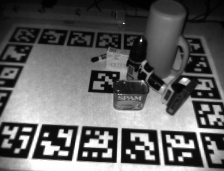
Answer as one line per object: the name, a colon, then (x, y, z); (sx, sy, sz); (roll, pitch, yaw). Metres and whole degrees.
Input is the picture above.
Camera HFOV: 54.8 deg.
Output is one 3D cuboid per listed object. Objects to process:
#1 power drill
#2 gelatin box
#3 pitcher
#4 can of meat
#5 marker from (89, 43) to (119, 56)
power drill: (0.116, -0.058, 0.663); (0.185, 0.185, 0.057); (34, 60, 15)
gelatin box: (0.023, -0.105, 0.765); (0.089, 0.073, 0.030); (12, 56, 4)
pitcher: (0.169, -0.150, 0.710); (0.186, 0.244, 0.134); (26, 58, 25)
can of meat: (0.045, 0.018, 0.658); (0.102, 0.084, 0.057); (2, 50, -2)
marker: (-0.030, -0.136, 0.816); (0.122, 0.020, 0.019); (-19, 55, -17)
